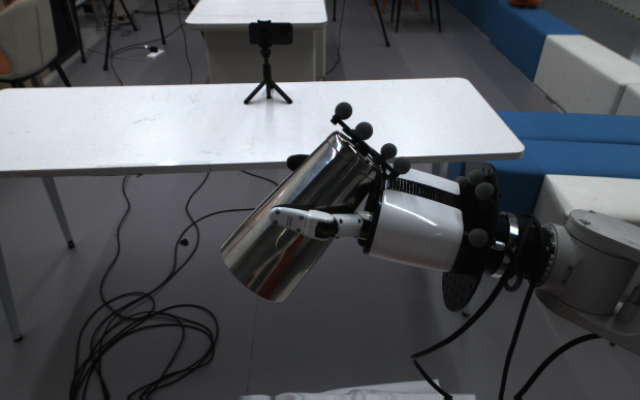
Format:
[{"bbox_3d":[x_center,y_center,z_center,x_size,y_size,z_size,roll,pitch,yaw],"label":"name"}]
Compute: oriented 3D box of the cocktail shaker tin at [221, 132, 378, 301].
[{"bbox_3d":[-0.014,0.011,0.508,0.093,0.170,0.093,41,12,-11],"label":"cocktail shaker tin"}]
